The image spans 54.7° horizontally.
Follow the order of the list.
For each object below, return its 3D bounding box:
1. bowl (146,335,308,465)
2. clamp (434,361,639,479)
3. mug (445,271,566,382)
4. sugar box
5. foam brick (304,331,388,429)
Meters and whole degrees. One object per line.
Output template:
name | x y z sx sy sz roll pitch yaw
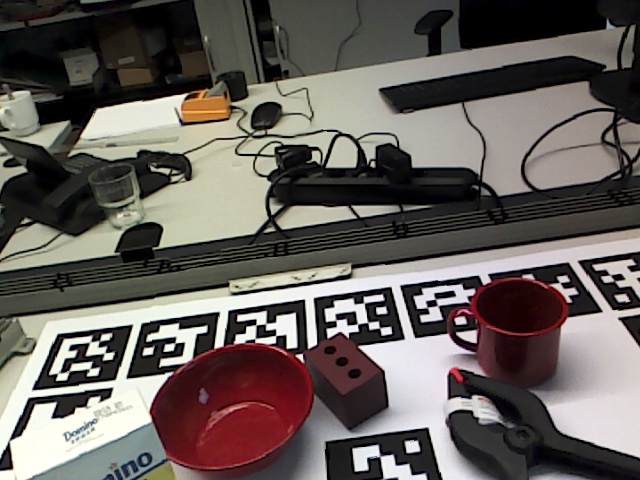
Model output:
bowl | -0.089 0.169 0.624 0.162 0.055 0.162 -6 33 3
clamp | 0.166 0.178 0.551 0.165 0.036 0.204 -22 36 -16
mug | 0.190 0.090 0.648 0.118 0.081 0.093 10 37 22
sugar box | -0.164 0.201 0.483 0.092 0.176 0.045 -21 36 -20
foam brick | 0.026 0.145 0.646 0.052 0.051 0.078 -24 36 -20
